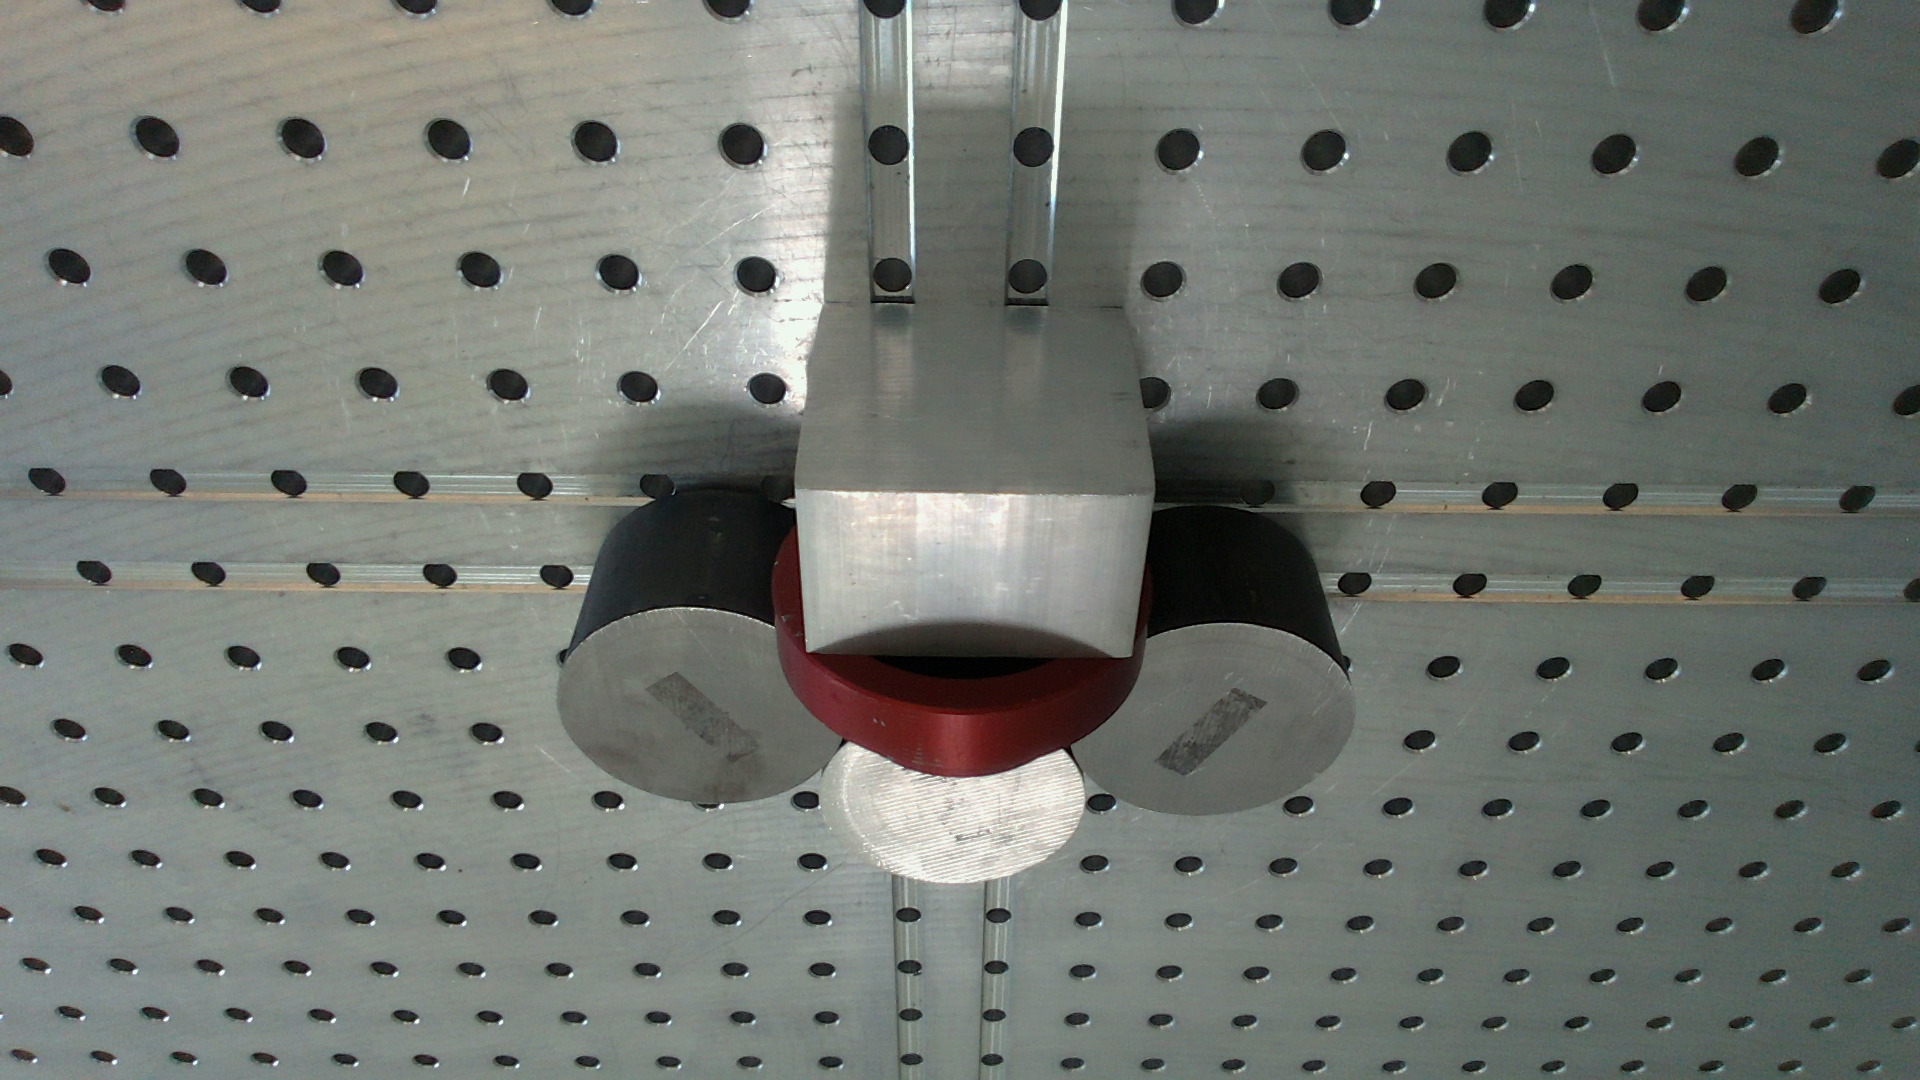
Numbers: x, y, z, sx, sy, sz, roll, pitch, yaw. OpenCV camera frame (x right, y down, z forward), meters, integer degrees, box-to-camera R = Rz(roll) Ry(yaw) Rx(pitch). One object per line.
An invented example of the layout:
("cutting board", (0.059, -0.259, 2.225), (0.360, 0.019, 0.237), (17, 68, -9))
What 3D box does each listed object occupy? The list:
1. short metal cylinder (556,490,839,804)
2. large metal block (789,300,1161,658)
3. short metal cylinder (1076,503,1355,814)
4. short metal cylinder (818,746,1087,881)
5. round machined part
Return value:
("short metal cylinder", (-0.072, 0.032, 0.404), (0.080, 0.050, 0.080), (0, 130, 0))
("large metal block", (0.003, -0.017, 0.342), (0.080, 0.080, 0.050), (0, 130, -1))
("short metal cylinder", (0.071, 0.036, 0.408), (0.080, 0.050, 0.080), (0, 130, 0))
("short metal cylinder", (-0.002, 0.062, 0.430), (0.080, 0.050, 0.080), (0, 130, 0))
("round machined part", (0.000, 0.026, 0.365), (0.098, 0.098, 0.042), (1, 130, -1))
